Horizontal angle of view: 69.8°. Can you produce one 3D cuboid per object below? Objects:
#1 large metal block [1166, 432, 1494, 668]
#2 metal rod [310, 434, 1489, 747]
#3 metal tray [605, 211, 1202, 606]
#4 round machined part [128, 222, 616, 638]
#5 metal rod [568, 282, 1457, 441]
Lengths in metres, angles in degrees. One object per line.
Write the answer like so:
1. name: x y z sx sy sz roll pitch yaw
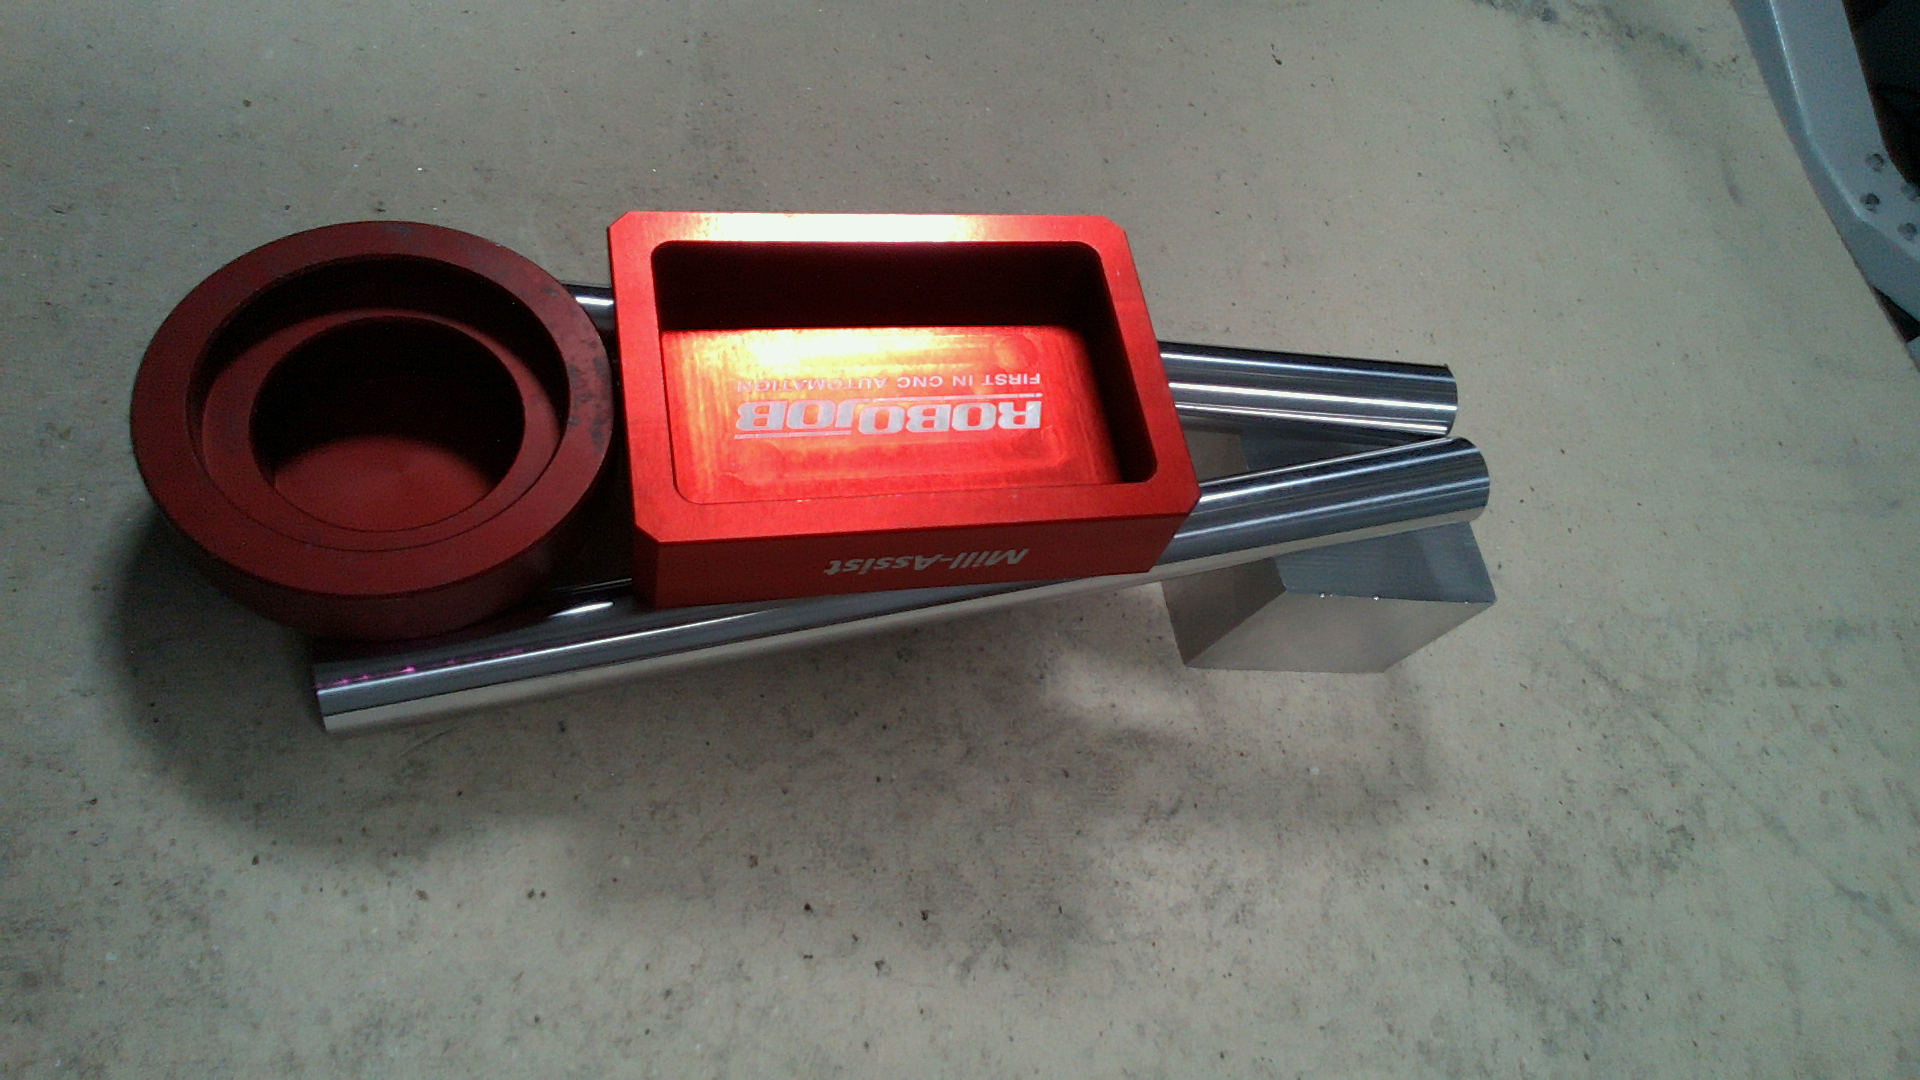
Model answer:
1. large metal block: 0.108 -0.007 0.434 0.080 0.050 0.080 4 60 -26
2. metal rod: 0.003 0.007 0.346 0.301 0.025 0.025 -10 66 -19
3. metal tray: -0.016 -0.035 0.333 0.130 0.030 0.090 -4 63 -16
4. round machined part: -0.130 -0.022 0.315 0.098 0.042 0.098 7 60 -12
5. metal rod: -0.007 -0.049 0.374 0.300 0.025 0.025 3 59 -12
